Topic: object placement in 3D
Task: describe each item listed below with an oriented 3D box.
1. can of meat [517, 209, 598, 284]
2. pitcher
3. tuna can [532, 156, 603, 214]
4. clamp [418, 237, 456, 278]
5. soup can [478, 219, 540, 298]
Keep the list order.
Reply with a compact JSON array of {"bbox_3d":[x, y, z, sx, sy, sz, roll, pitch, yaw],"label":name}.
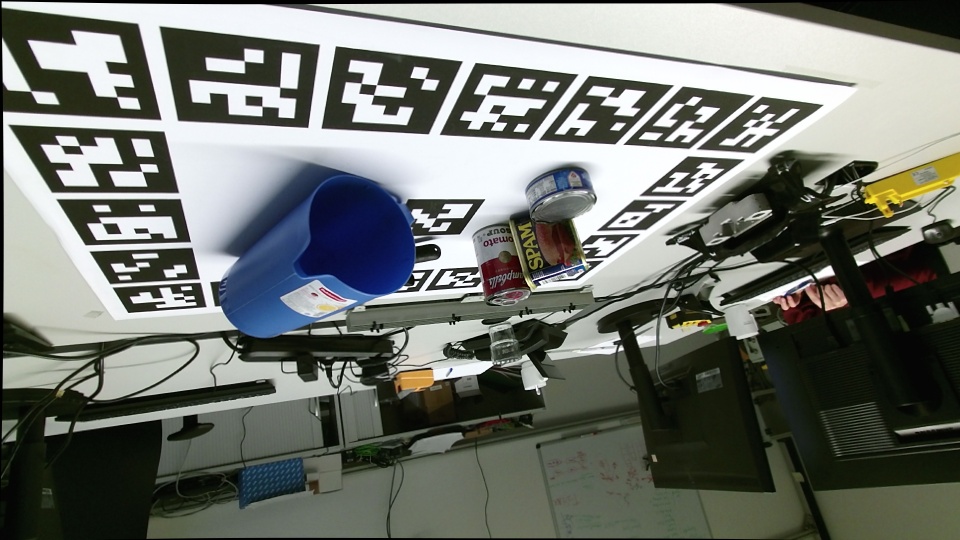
[{"bbox_3d":[0.109,-0.043,0.751,0.084,0.101,0.058,-21,157,9],"label":"can of meat"},{"bbox_3d":[-0.184,-0.002,0.636,0.243,0.133,0.189,-23,180,41],"label":"pitcher"},{"bbox_3d":[0.111,-0.108,0.689,0.086,0.033,0.086,-12,157,-5],"label":"tuna can"},{"bbox_3d":[-0.131,-0.018,0.795,0.166,0.036,0.122,0,159,-23],"label":"clamp"},{"bbox_3d":[0.042,-0.015,0.793,0.068,0.101,0.068,-15,158,-6],"label":"soup can"}]
